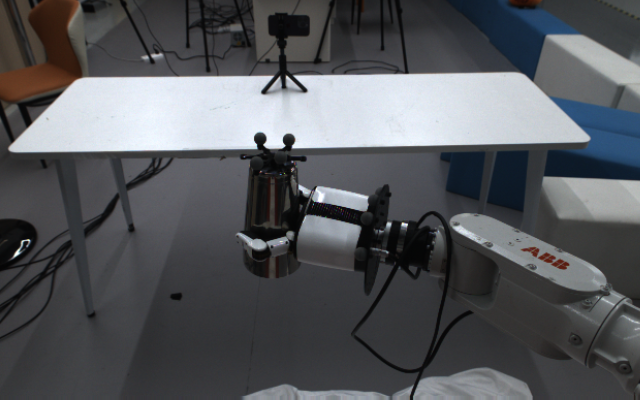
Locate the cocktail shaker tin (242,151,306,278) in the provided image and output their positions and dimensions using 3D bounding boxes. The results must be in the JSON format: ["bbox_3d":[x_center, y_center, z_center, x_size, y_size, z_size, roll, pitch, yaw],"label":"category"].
[{"bbox_3d":[-0.066,0.020,0.704,0.093,0.170,0.093,3,34,-2],"label":"cocktail shaker tin"}]
